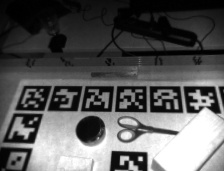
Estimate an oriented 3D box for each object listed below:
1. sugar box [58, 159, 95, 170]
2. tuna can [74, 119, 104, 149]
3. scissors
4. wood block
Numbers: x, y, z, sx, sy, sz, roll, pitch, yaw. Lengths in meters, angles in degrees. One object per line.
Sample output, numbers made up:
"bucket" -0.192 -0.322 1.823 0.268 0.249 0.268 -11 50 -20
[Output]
"sugar box" -0.106 0.286 0.556 0.092 0.045 0.176 4 57 9
"tuna can" -0.067 0.146 0.646 0.085 0.034 0.085 -3 57 6
"scissors" 0.107 0.144 0.640 0.201 0.016 0.087 5 57 13
"wood block" 0.213 0.177 0.563 0.207 0.091 0.089 -39 59 -18
